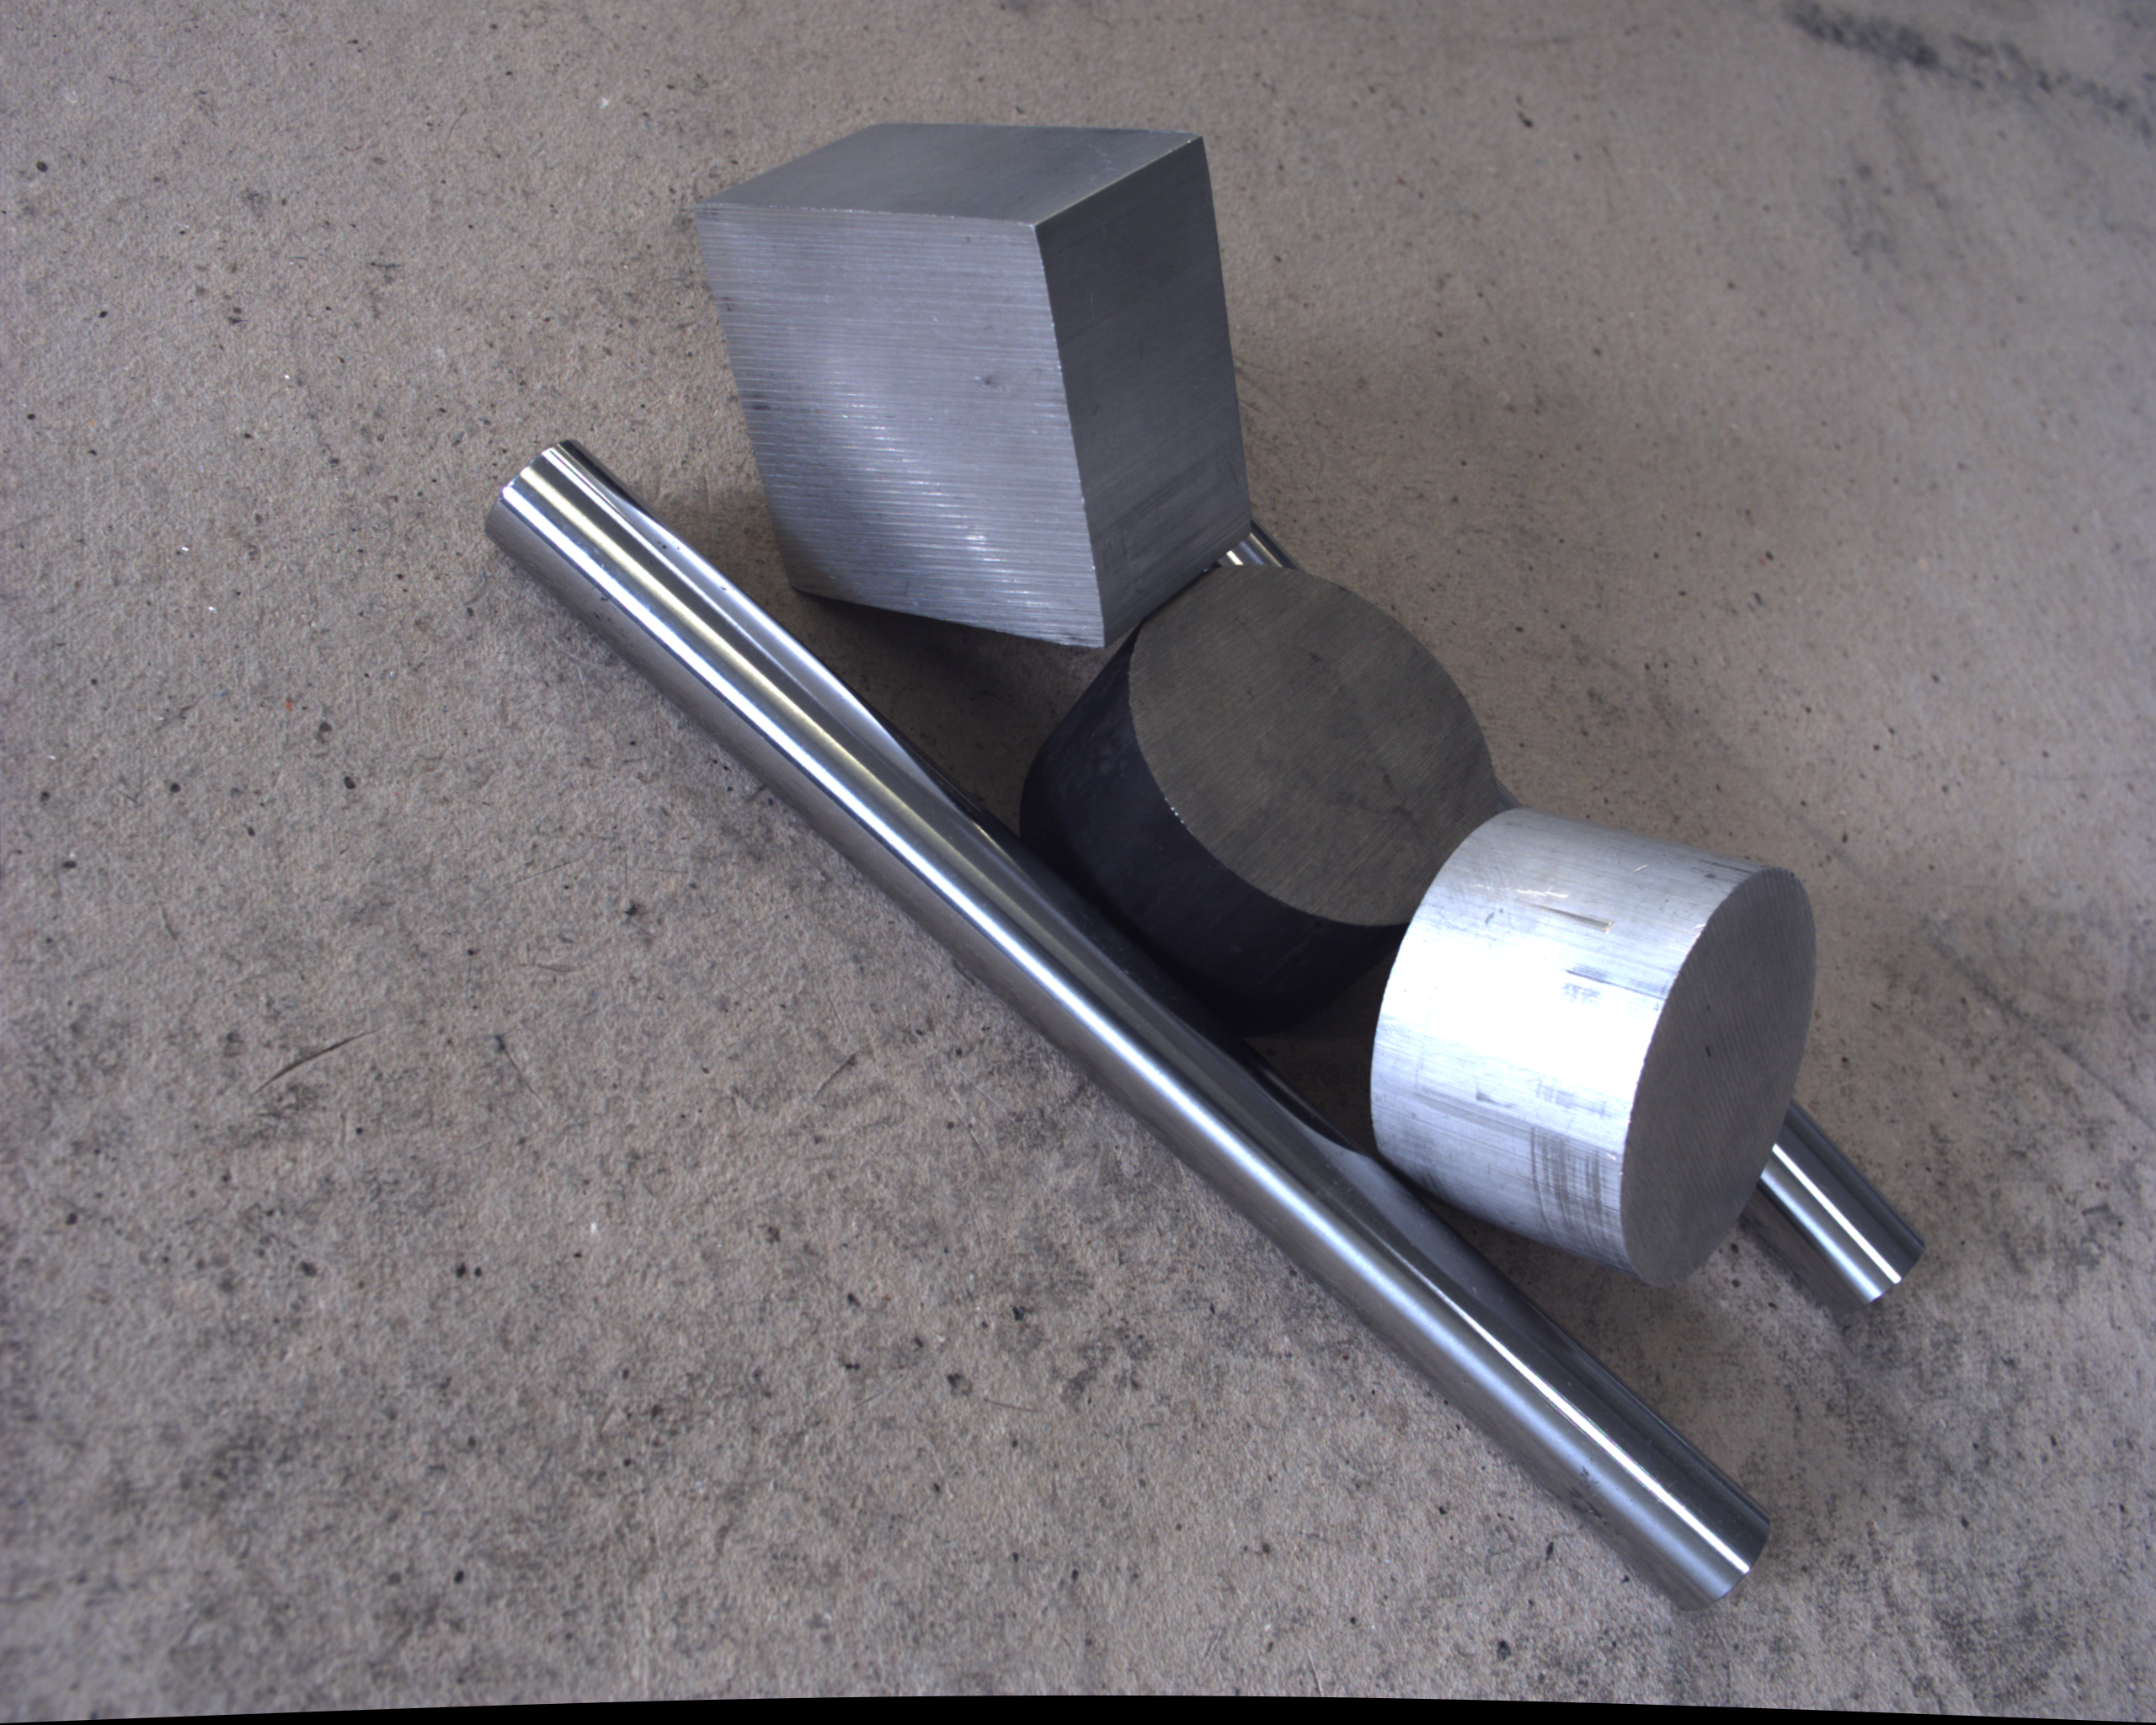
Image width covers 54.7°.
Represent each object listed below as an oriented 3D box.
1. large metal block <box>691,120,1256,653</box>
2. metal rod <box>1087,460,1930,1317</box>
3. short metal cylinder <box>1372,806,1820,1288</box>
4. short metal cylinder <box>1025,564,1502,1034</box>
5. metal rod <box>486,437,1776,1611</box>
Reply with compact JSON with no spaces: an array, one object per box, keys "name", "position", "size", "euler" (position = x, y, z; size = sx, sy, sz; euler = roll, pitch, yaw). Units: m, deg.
[{"name":"large metal block","position":[-0.018,-0.093,0.397],"size":[0.080,0.080,0.050],"euler":[15,41,34]},{"name":"metal rod","position":[0.071,-0.023,0.457],"size":[0.300,0.025,0.025],"euler":[48,51,6]},{"name":"short metal cylinder","position":[0.099,0.034,0.395],"size":[0.050,0.079,0.081],"euler":[17,39,37]},{"name":"short metal cylinder","position":[0.036,-0.012,0.416],"size":[0.081,0.050,0.080],"euler":[14,56,-21]},{"name":"metal rod","position":[0.010,0.030,0.391],"size":[0.300,0.025,0.025],"euler":[42,51,0]}]
